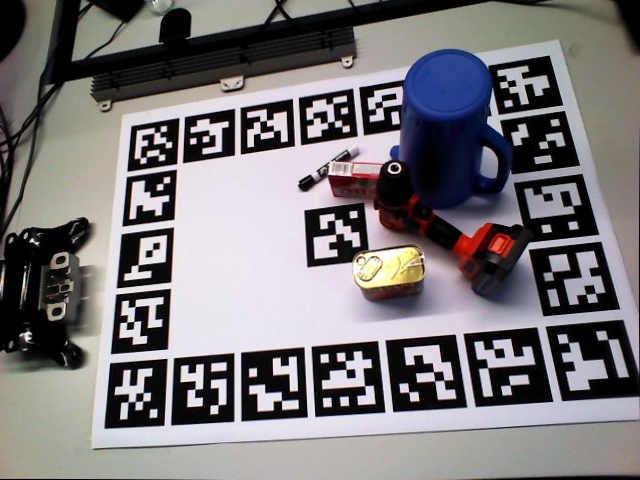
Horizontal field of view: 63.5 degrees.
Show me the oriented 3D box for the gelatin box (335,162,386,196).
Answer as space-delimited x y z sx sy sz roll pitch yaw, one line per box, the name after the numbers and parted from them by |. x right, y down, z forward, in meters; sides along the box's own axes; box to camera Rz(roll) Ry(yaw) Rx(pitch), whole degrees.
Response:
0.073 -0.094 0.823 0.090 0.073 0.030 4 75 11 | gelatin box

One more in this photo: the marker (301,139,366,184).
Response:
0.021 -0.131 0.873 0.121 0.019 0.019 -32 68 0 | marker

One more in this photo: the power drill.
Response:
0.163 -0.031 0.723 0.187 0.185 0.057 29 81 13 | power drill

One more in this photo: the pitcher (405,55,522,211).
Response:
0.201 -0.141 0.730 0.189 0.242 0.133 25 80 25 | pitcher

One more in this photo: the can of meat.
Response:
0.108 0.052 0.755 0.102 0.084 0.057 -7 67 8 | can of meat
